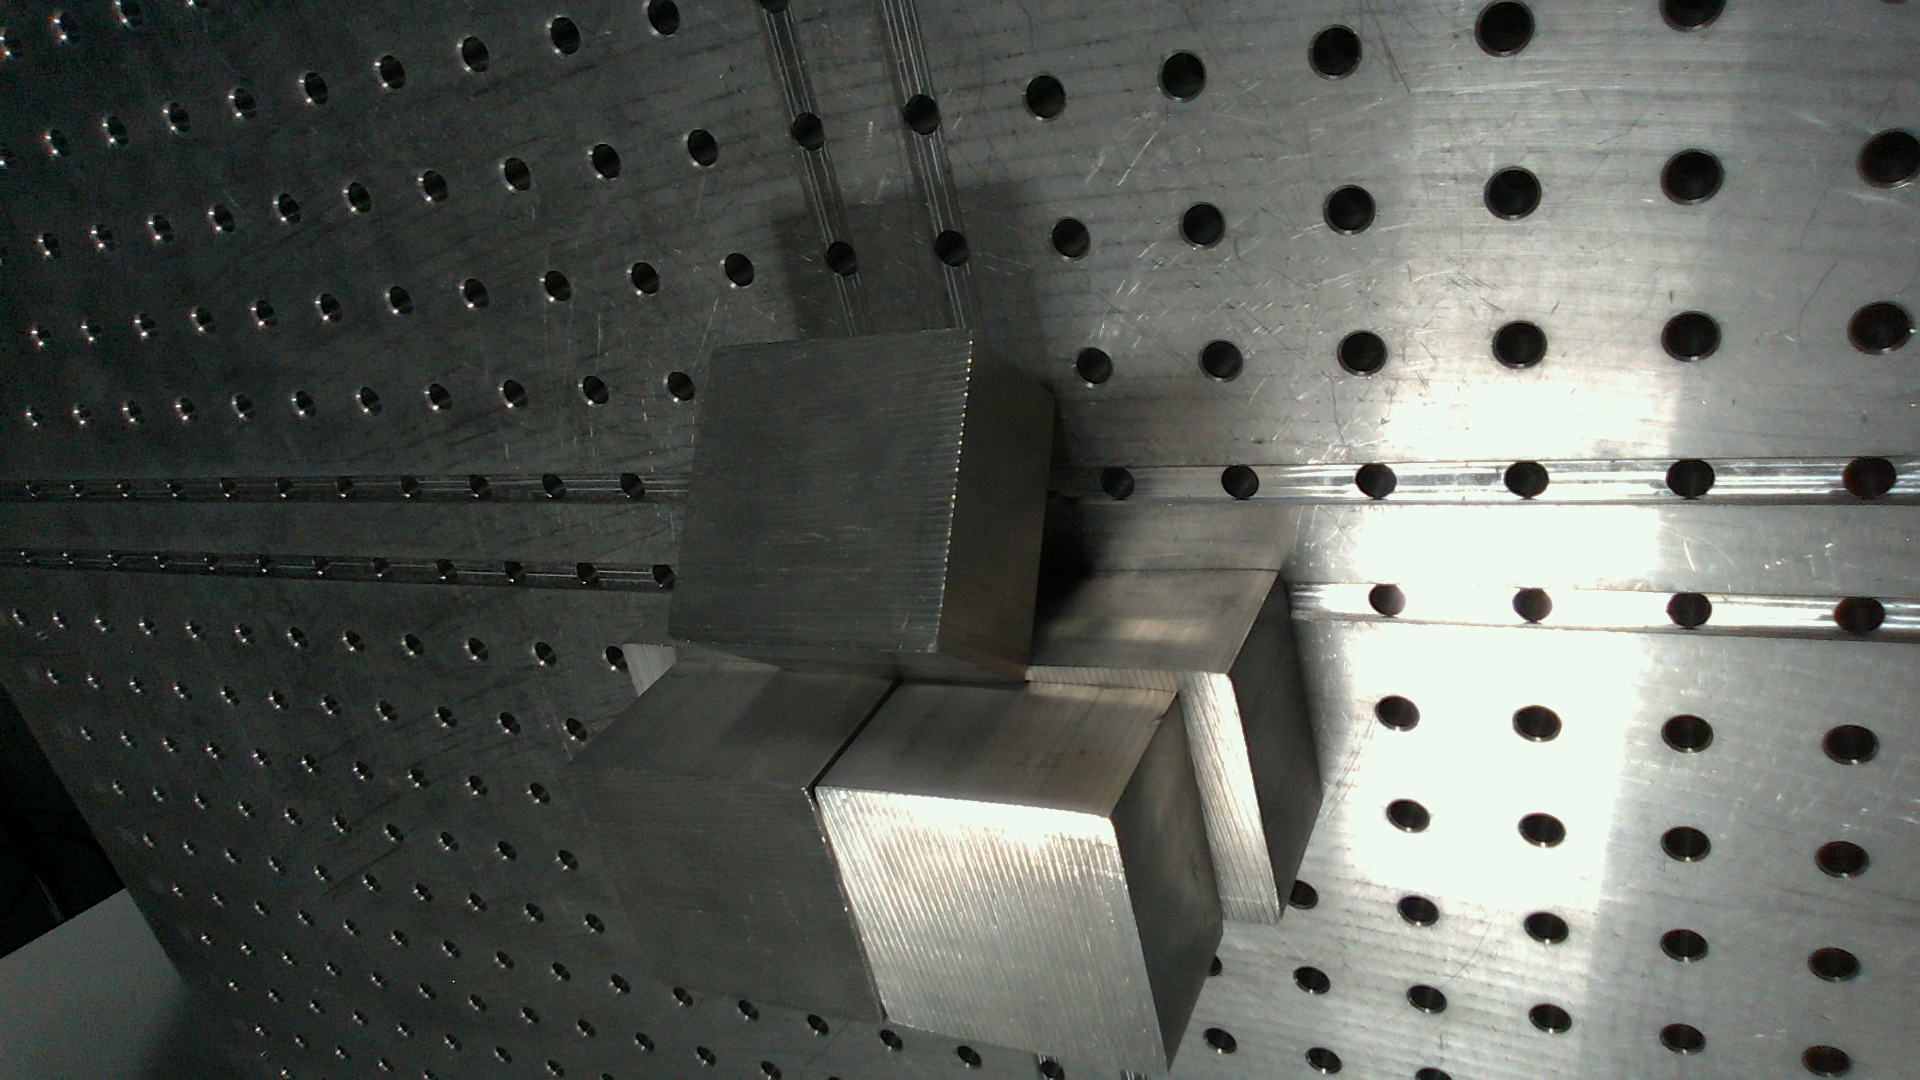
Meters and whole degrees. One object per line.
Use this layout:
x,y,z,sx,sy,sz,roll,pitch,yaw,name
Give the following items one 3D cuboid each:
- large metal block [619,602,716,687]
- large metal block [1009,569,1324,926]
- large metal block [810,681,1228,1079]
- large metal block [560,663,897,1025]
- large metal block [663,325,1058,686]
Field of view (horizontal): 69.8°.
-0.051,0.055,0.442,0.080,0.050,0.080,1,119,28,large metal block
0.051,0.056,0.386,0.080,0.050,0.080,-1,118,29,large metal block
0.018,0.086,0.356,0.080,0.050,0.080,0,118,28,large metal block
-0.054,0.084,0.392,0.080,0.050,0.080,0,118,28,large metal block
-0.025,-0.007,0.362,0.080,0.050,0.080,0,77,28,large metal block
